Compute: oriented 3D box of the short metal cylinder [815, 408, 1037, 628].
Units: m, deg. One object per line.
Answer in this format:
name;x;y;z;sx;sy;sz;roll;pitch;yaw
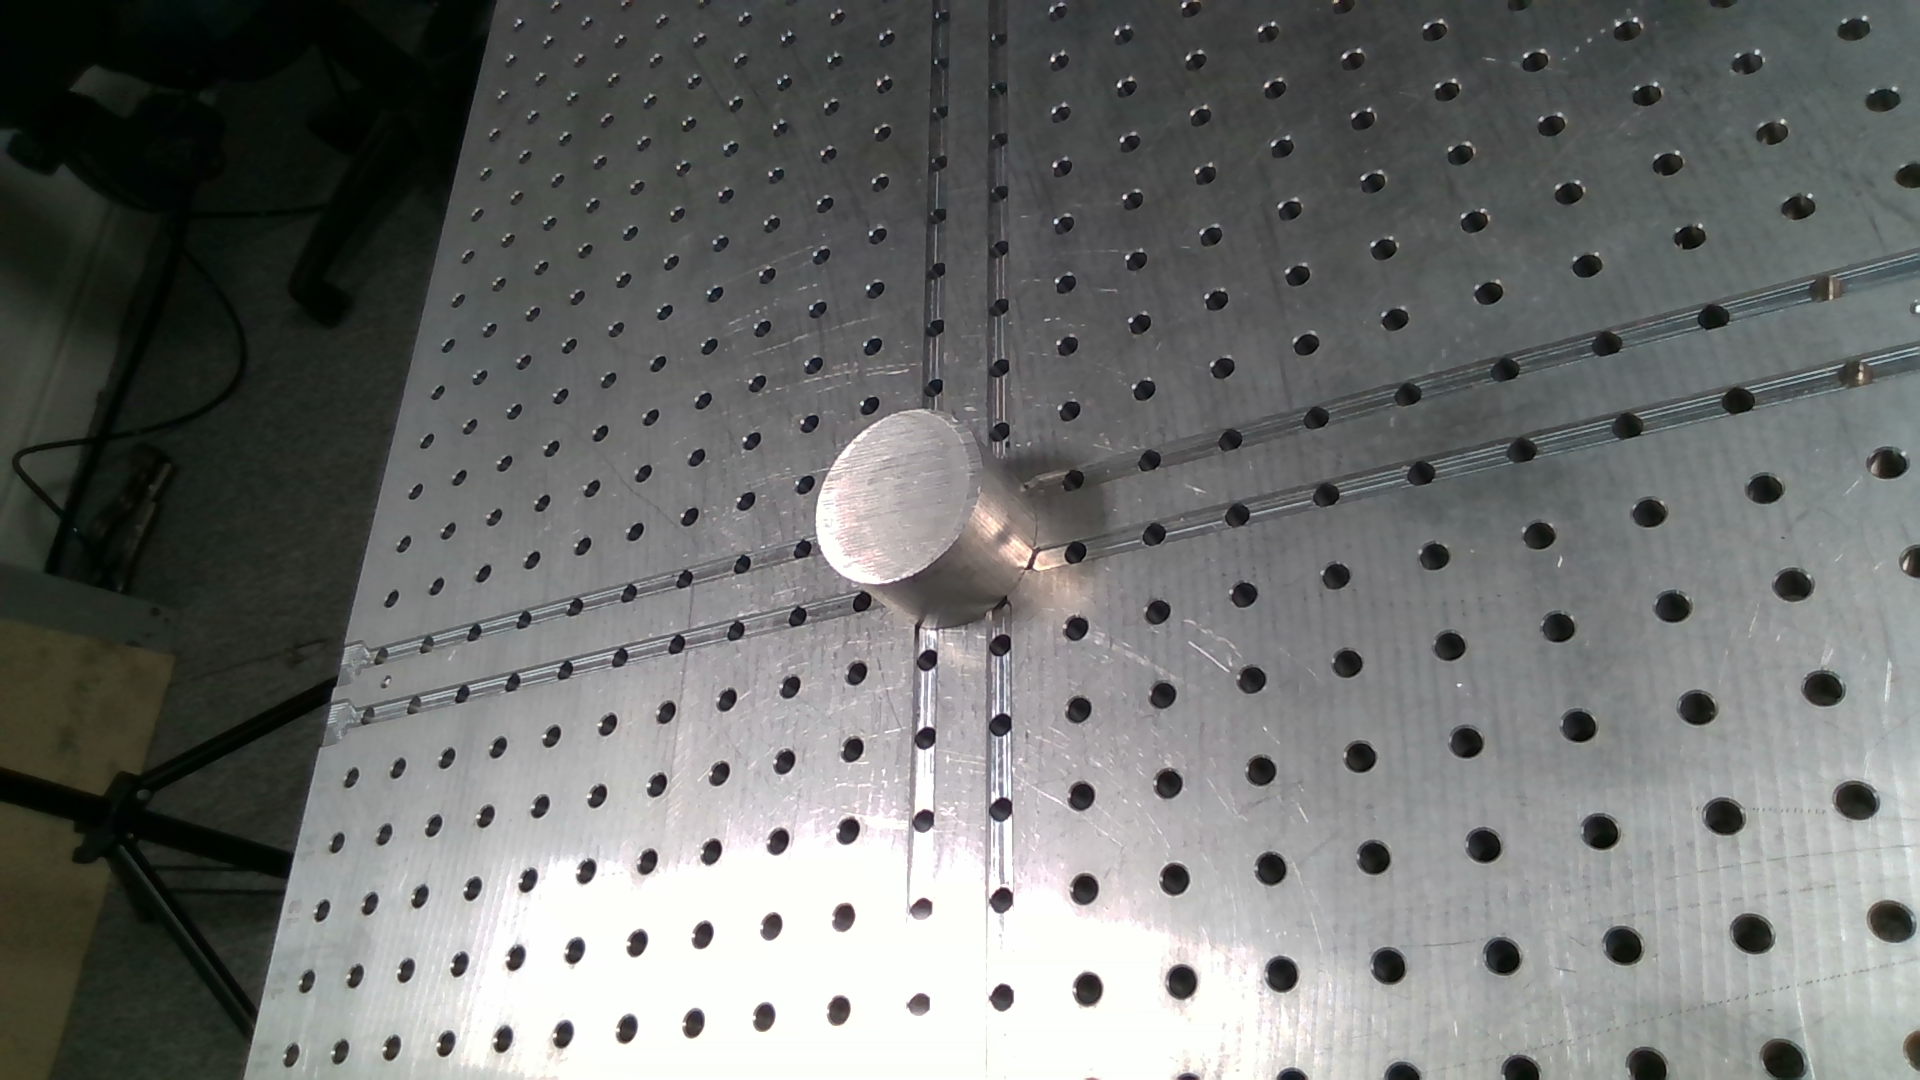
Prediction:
short metal cylinder;-0.014;-0.009;0.585;0.080;0.050;0.080;-14;59;25
